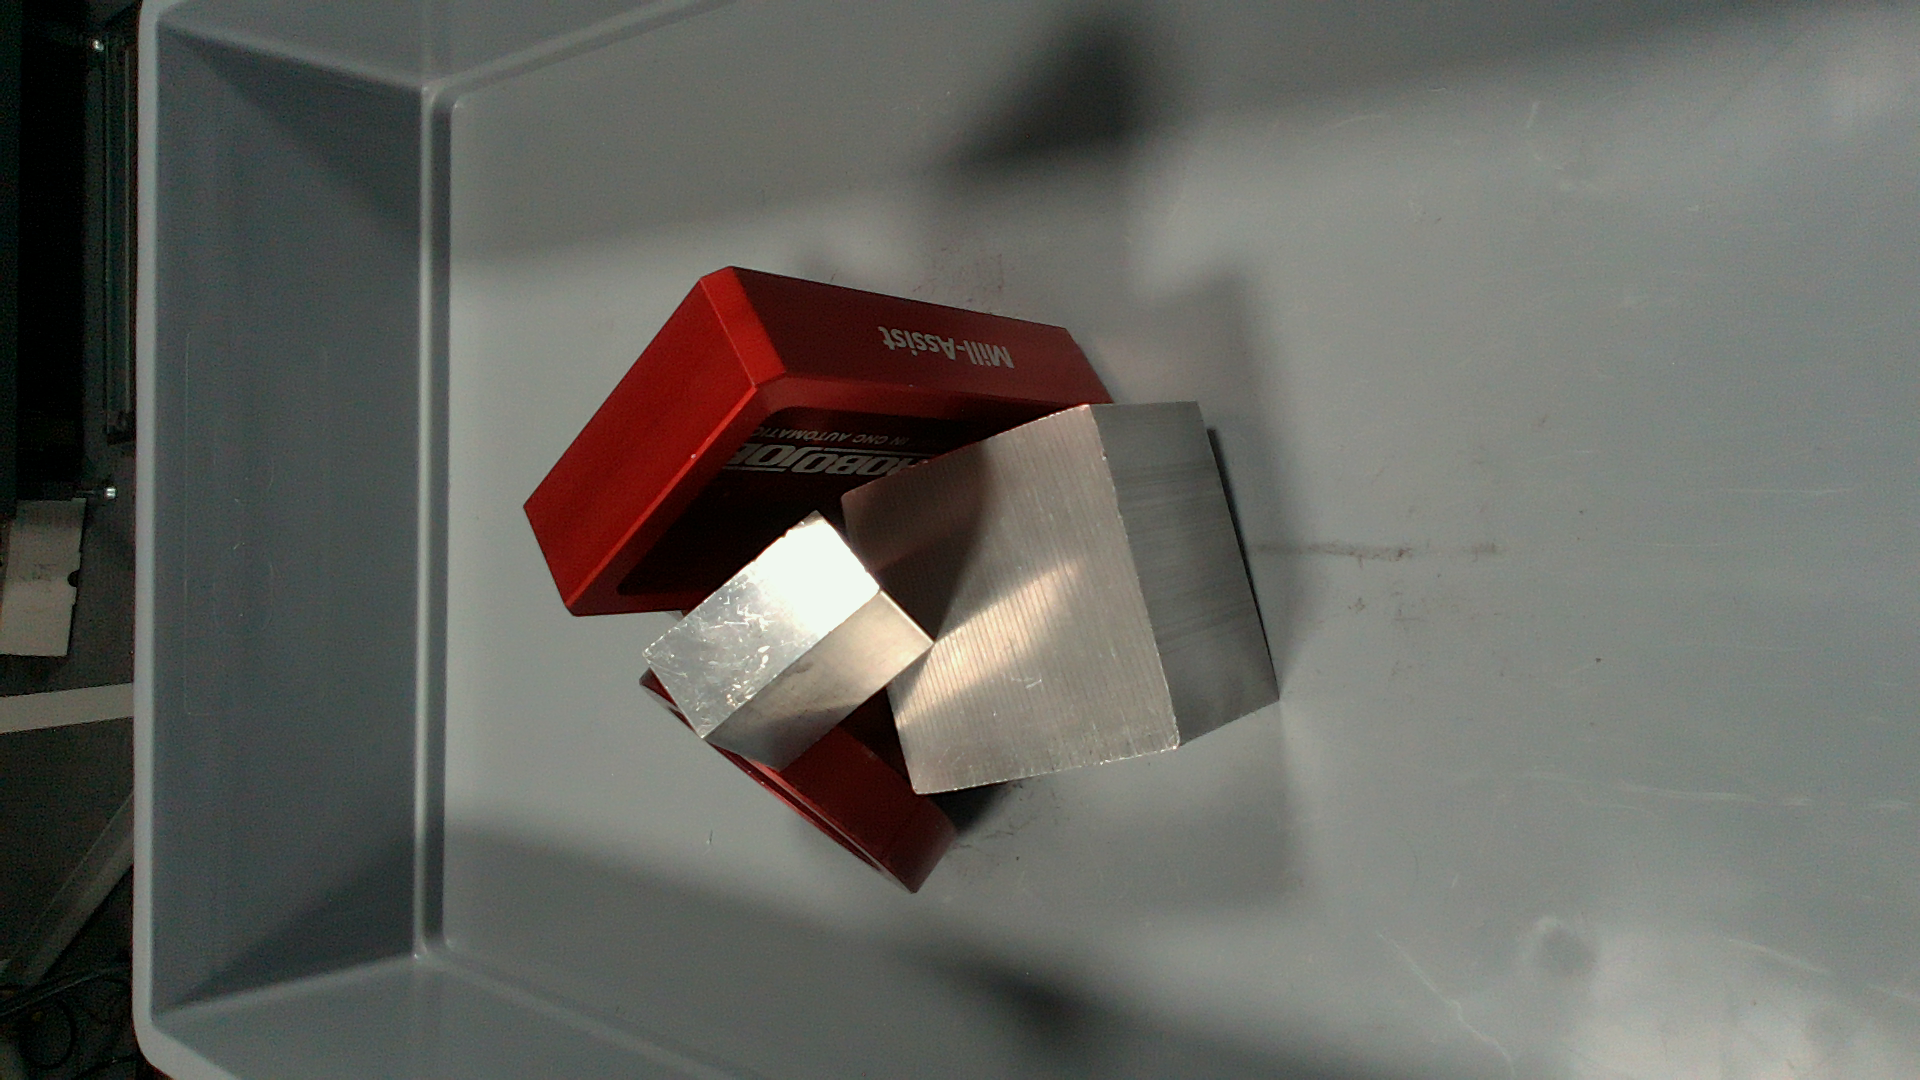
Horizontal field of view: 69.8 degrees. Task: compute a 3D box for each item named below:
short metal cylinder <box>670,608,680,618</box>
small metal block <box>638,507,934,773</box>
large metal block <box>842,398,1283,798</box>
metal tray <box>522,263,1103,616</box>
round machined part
[{"bbox_3d":[-0.068,-0.013,0.415,0.050,0.080,0.080,28,108,37],"label":"short metal cylinder"},{"bbox_3d":[-0.038,0.025,0.320,0.050,0.050,0.025,-40,69,-2],"label":"small metal block"},{"bbox_3d":[0.024,0.015,0.347,0.080,0.050,0.080,-19,83,39],"label":"large metal block"},{"bbox_3d":[-0.031,-0.021,0.350,0.090,0.131,0.030,-43,65,31],"label":"metal tray"},{"bbox_3d":[-0.040,0.054,0.391,0.098,0.098,0.042,26,71,37],"label":"round machined part"}]
